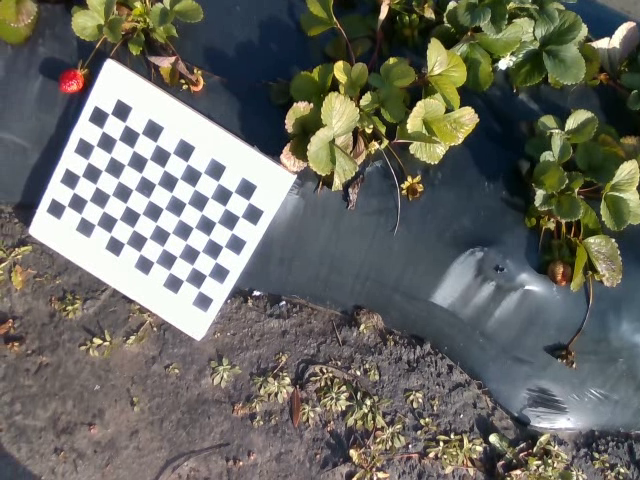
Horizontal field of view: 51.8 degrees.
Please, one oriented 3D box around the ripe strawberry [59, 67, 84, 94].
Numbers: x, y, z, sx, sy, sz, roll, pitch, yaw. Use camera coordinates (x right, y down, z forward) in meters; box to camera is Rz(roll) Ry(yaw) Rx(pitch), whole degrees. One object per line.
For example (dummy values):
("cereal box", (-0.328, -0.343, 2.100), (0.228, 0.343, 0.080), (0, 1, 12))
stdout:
("ripe strawberry", (-0.294, -0.178, 0.766), (0.034, 0.038, 0.033), (31, -38, 3))
